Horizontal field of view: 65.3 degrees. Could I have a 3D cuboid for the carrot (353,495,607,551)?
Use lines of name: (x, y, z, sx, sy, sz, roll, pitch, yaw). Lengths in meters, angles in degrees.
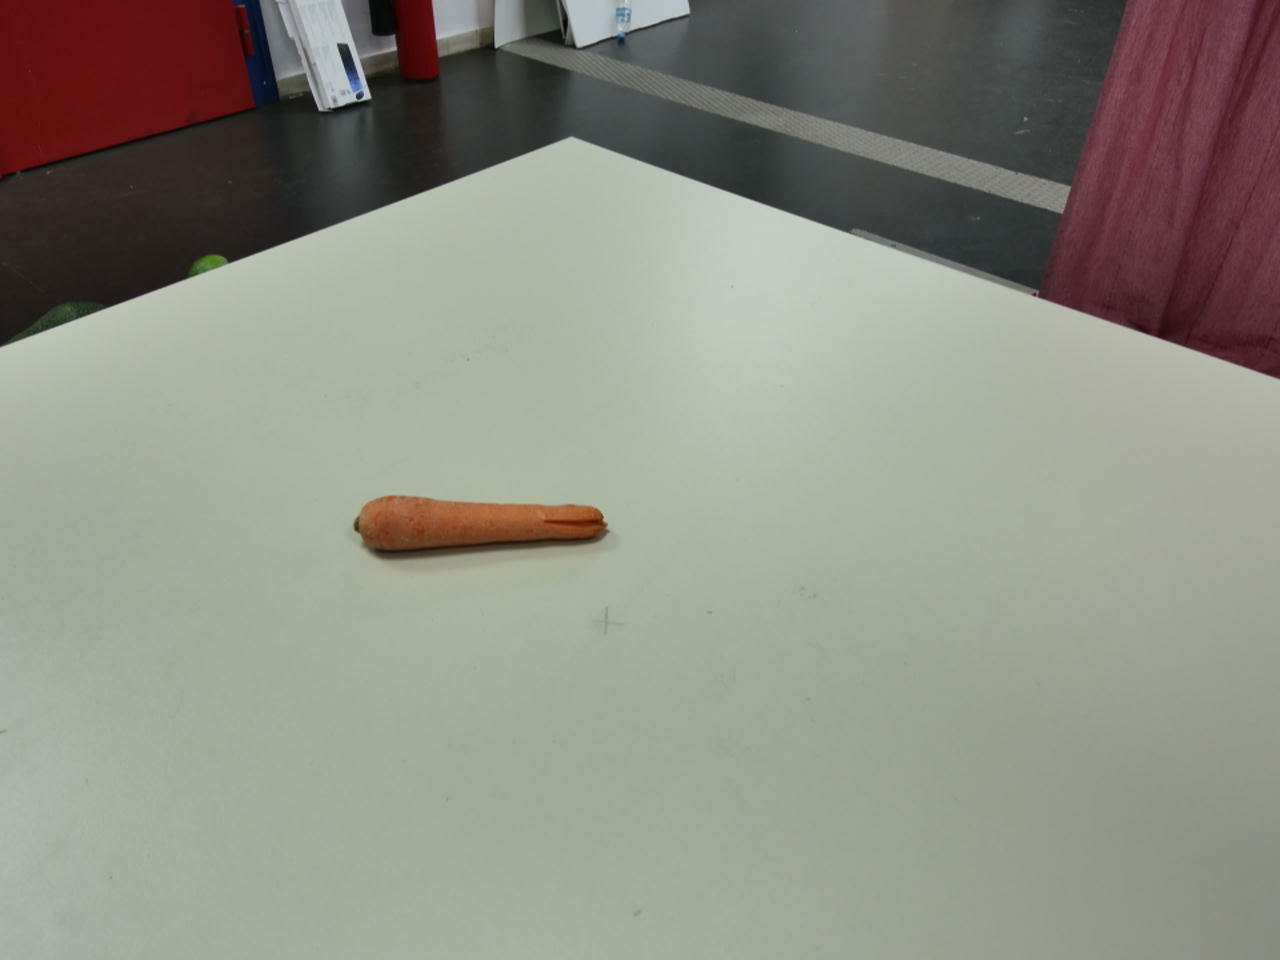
carrot: (-0.086, 0.022, 0.544, 0.136, 0.032, 0.030, -3, 37, -4)
